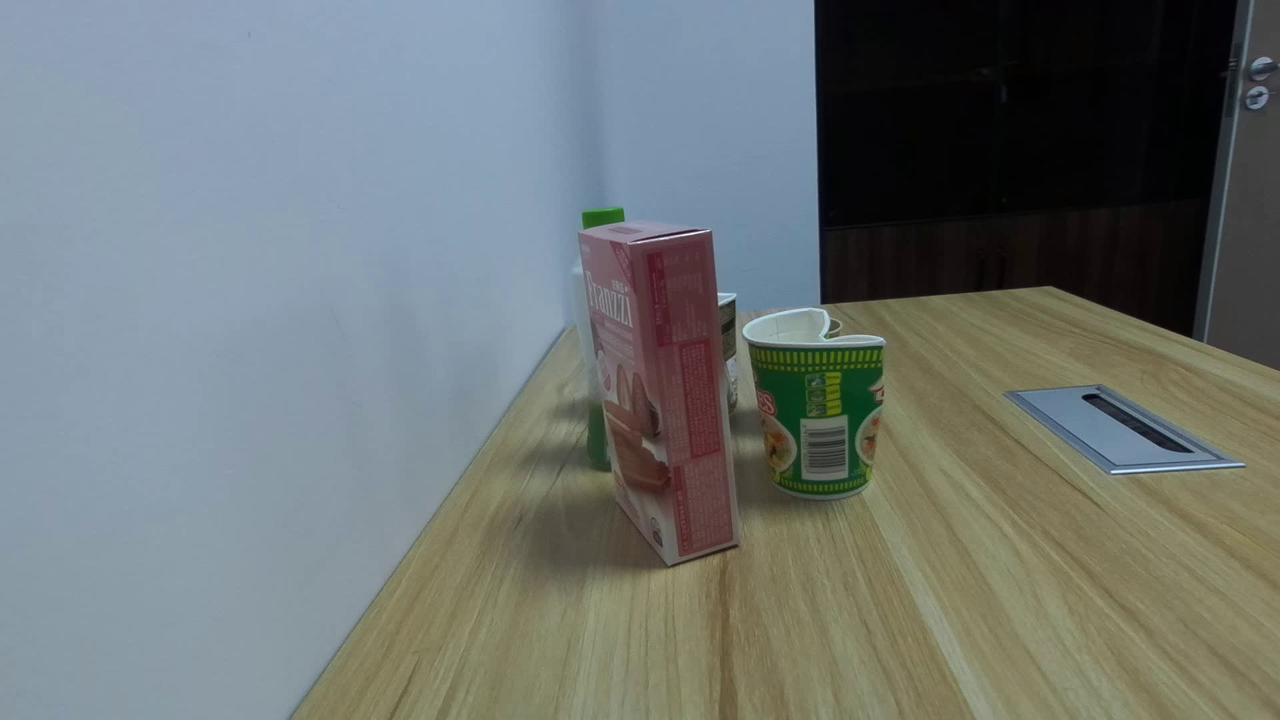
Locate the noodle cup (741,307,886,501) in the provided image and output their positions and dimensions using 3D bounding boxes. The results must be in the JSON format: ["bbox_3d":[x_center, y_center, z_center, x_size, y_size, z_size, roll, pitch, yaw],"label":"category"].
[{"bbox_3d":[0.115,0.028,0.470,0.087,0.109,0.094,-3,18,12],"label":"noodle cup"}]

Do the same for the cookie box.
[{"bbox_3d":[0.013,0.016,0.419,0.048,0.185,0.096,-12,18,-15],"label":"cookie box"}]
